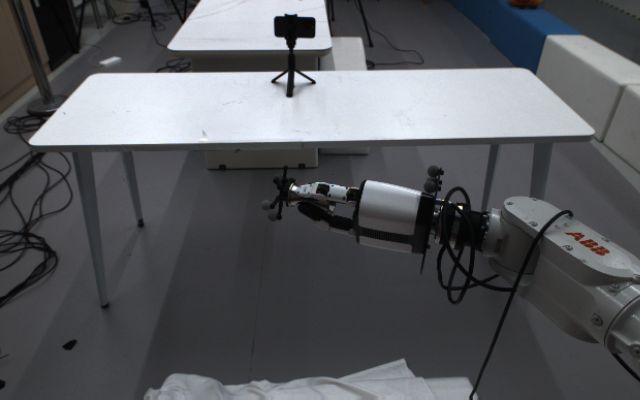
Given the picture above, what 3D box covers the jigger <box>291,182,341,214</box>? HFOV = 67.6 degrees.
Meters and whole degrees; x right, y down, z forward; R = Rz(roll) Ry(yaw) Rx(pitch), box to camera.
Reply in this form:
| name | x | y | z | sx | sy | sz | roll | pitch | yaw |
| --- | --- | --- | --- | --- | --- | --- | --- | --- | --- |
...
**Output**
| name | x | y | z | sx | sy | sz | roll | pitch | yaw |
| --- | --- | --- | --- | --- | --- | --- | --- | --- | --- |
| jigger | -0.006 | -0.008 | 0.758 | 0.071 | 0.043 | 0.043 | 9 | 35 | 16 |
